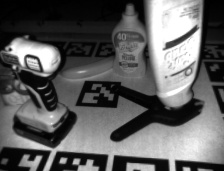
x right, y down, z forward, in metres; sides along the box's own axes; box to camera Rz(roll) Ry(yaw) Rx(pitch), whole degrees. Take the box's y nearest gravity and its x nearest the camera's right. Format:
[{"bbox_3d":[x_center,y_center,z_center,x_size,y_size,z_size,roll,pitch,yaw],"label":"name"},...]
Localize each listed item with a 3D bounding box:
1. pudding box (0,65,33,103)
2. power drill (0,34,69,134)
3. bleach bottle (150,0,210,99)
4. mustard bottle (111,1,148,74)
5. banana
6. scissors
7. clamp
[{"bbox_3d":[-0.206,-0.002,0.520,0.113,0.090,0.038,4,35,9],"label":"pudding box"},{"bbox_3d":[-0.163,-0.004,0.401,0.183,0.188,0.057,8,36,18],"label":"power drill"},{"bbox_3d":[0.134,-0.064,0.422,0.103,0.253,0.067,-17,38,-2],"label":"bleach bottle"},{"bbox_3d":[0.045,-0.122,0.568,0.095,0.192,0.058,11,43,16],"label":"mustard bottle"},{"bbox_3d":[-0.055,-0.084,0.633,0.199,0.039,0.073,-26,29,-23],"label":"banana"},{"bbox_3d":[-0.219,-0.055,0.484,0.201,0.016,0.088,22,51,21],"label":"scissors"},{"bbox_3d":[0.105,0.025,0.483,0.203,0.037,0.164,-2,43,0],"label":"clamp"}]
